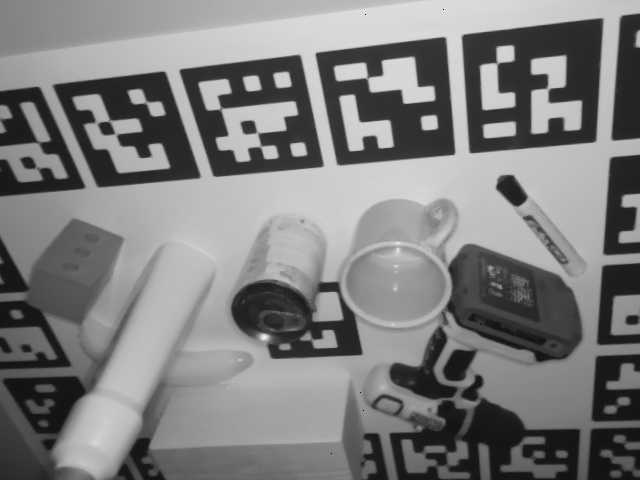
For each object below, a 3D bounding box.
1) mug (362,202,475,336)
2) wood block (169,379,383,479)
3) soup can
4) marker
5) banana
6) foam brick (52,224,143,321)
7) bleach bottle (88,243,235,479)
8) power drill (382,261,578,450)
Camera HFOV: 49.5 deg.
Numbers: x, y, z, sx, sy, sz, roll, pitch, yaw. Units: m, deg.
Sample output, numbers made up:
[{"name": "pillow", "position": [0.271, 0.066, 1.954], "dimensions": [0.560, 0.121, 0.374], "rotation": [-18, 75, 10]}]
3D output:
[{"name": "mug", "position": [0.093, 0.014, 0.600], "dimensions": [0.093, 0.082, 0.115], "rotation": [32, 119, -10]}, {"name": "wood block", "position": [-0.042, 0.221, 0.754], "dimensions": [0.205, 0.092, 0.089], "rotation": [-7, 121, 13]}, {"name": "soup can", "position": [-0.013, 0.037, 0.612], "dimensions": [0.068, 0.103, 0.067], "rotation": [5, 128, 7]}, {"name": "marker", "position": [0.209, -0.018, 0.604], "dimensions": [0.019, 0.020, 0.121], "rotation": [-35, 111, 24]}, {"name": "banana", "position": [-0.136, 0.143, 0.742], "dimensions": [0.197, 0.039, 0.073], "rotation": [9, 110, 5]}, {"name": "foam brick", "position": [-0.211, 0.033, 0.662], "dimensions": [0.053, 0.079, 0.050], "rotation": [22, 126, -8]}, {"name": "bleach bottle", "position": [-0.138, 0.112, 0.596], "dimensions": [0.068, 0.253, 0.101], "rotation": [19, 125, -4]}, {"name": "power drill", "position": [0.172, 0.121, 0.681], "dimensions": [0.185, 0.058, 0.184], "rotation": [20, 125, -1]}]
